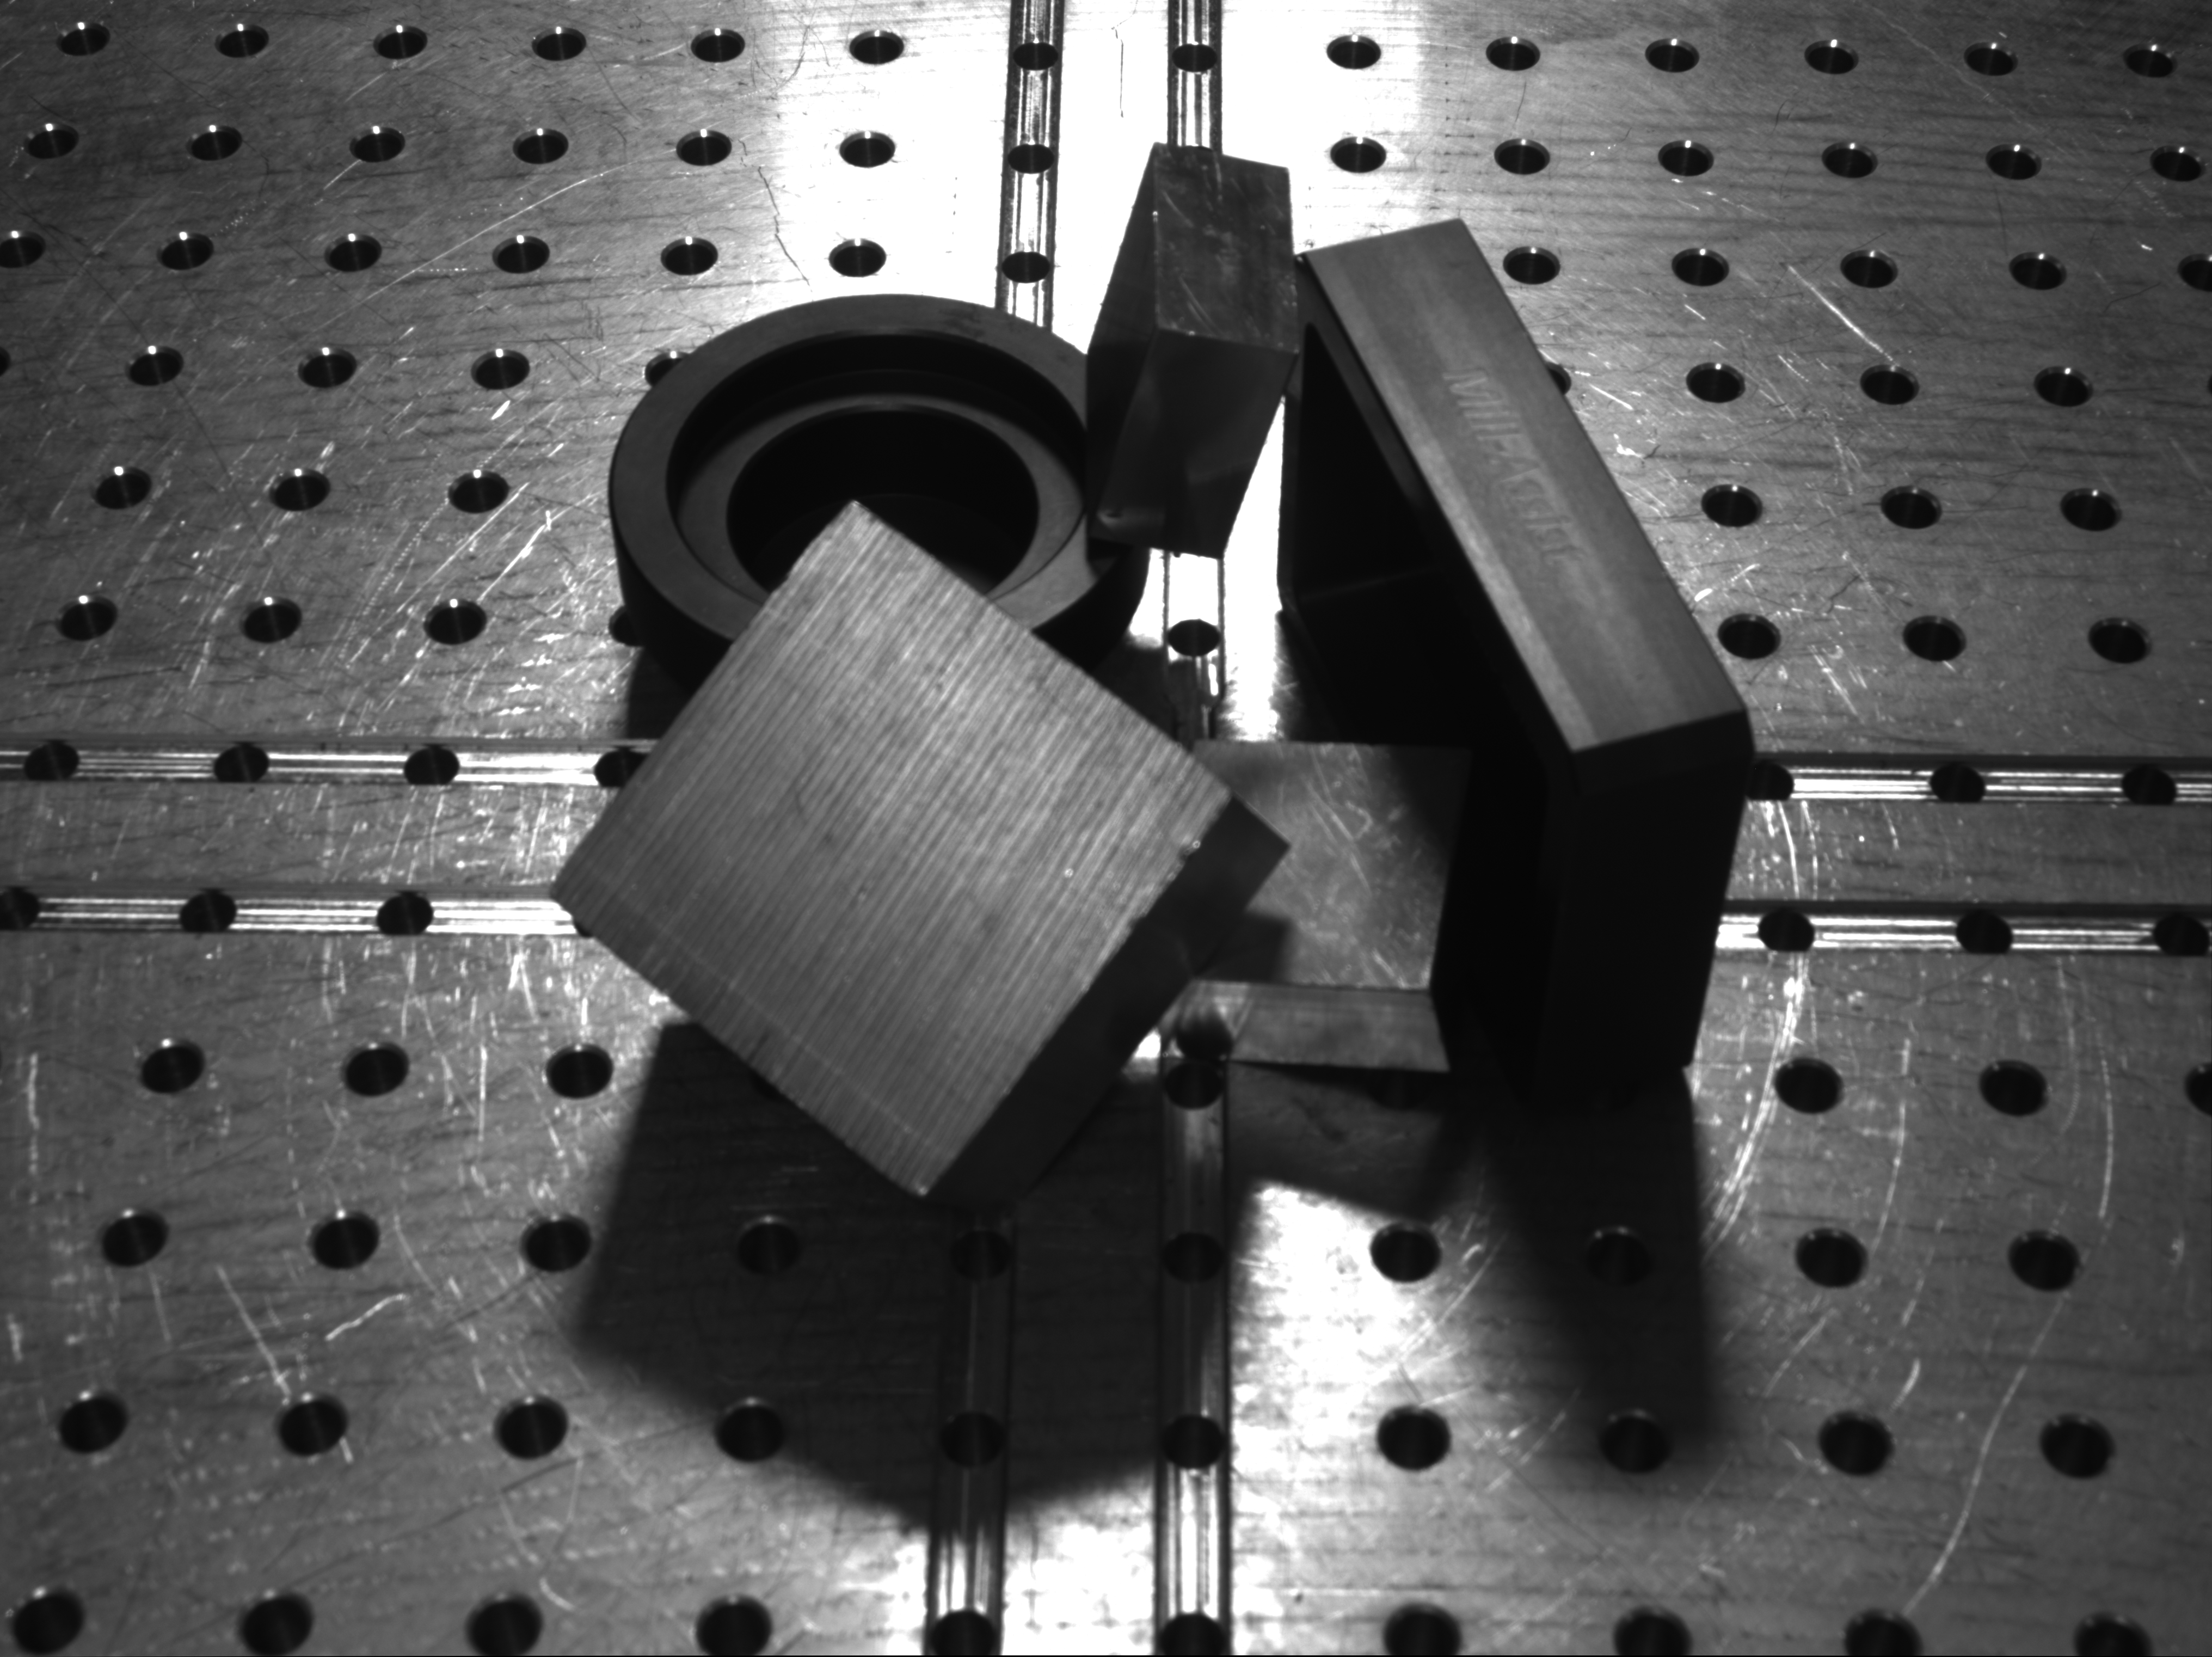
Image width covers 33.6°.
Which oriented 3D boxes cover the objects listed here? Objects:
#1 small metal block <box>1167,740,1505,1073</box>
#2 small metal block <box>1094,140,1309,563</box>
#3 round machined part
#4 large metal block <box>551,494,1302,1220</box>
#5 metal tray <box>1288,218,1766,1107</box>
[{"bbox_3d":[0.039,0.013,0.628,0.050,0.025,0.050,2,53,16],"label":"small metal block"},{"bbox_3d":[0.016,-0.084,0.646,0.025,0.050,0.050,9,48,-10],"label":"small metal block"},{"bbox_3d":[-0.039,-0.051,0.677,0.098,0.042,0.098,0,50,0],"label":"round machined part"},{"bbox_3d":[-0.028,0.006,0.594,0.080,0.050,0.080,38,91,15],"label":"large metal block"},{"bbox_3d":[0.068,-0.030,0.628,0.030,0.090,0.130,-14,51,-11],"label":"metal tray"}]
